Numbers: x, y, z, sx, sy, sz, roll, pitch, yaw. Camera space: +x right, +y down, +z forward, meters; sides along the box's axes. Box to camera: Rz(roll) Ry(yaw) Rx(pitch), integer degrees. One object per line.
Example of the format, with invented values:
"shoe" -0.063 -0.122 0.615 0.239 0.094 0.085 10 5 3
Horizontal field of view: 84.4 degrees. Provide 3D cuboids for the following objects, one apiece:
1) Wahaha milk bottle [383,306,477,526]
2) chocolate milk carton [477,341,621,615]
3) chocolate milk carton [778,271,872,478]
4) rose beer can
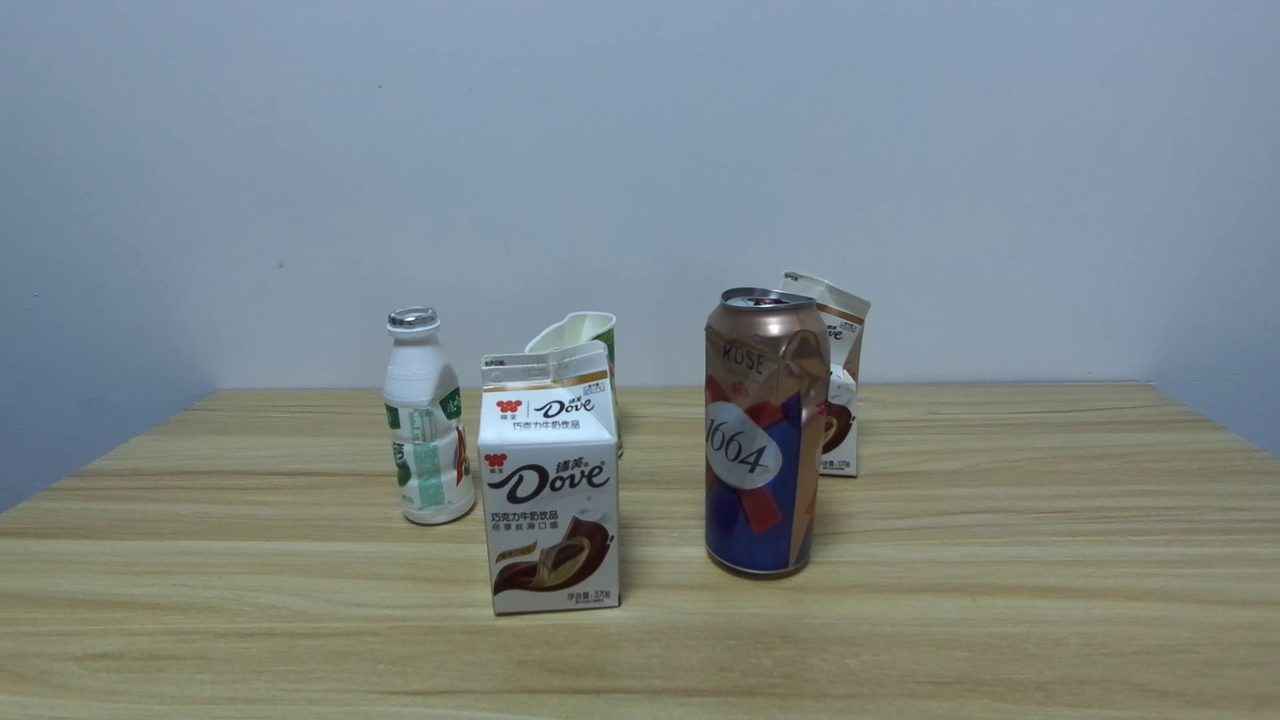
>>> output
"Wahaha milk bottle" -0.146 0.039 0.488 0.056 0.147 0.056 -1 17 1
"chocolate milk carton" -0.049 0.061 0.406 0.075 0.148 0.074 -2 20 -3
"chocolate milk carton" 0.134 0.005 0.543 0.076 0.155 0.074 3 22 13
"rose beer can" 0.075 0.043 0.419 0.065 0.167 0.075 -5 17 -17
